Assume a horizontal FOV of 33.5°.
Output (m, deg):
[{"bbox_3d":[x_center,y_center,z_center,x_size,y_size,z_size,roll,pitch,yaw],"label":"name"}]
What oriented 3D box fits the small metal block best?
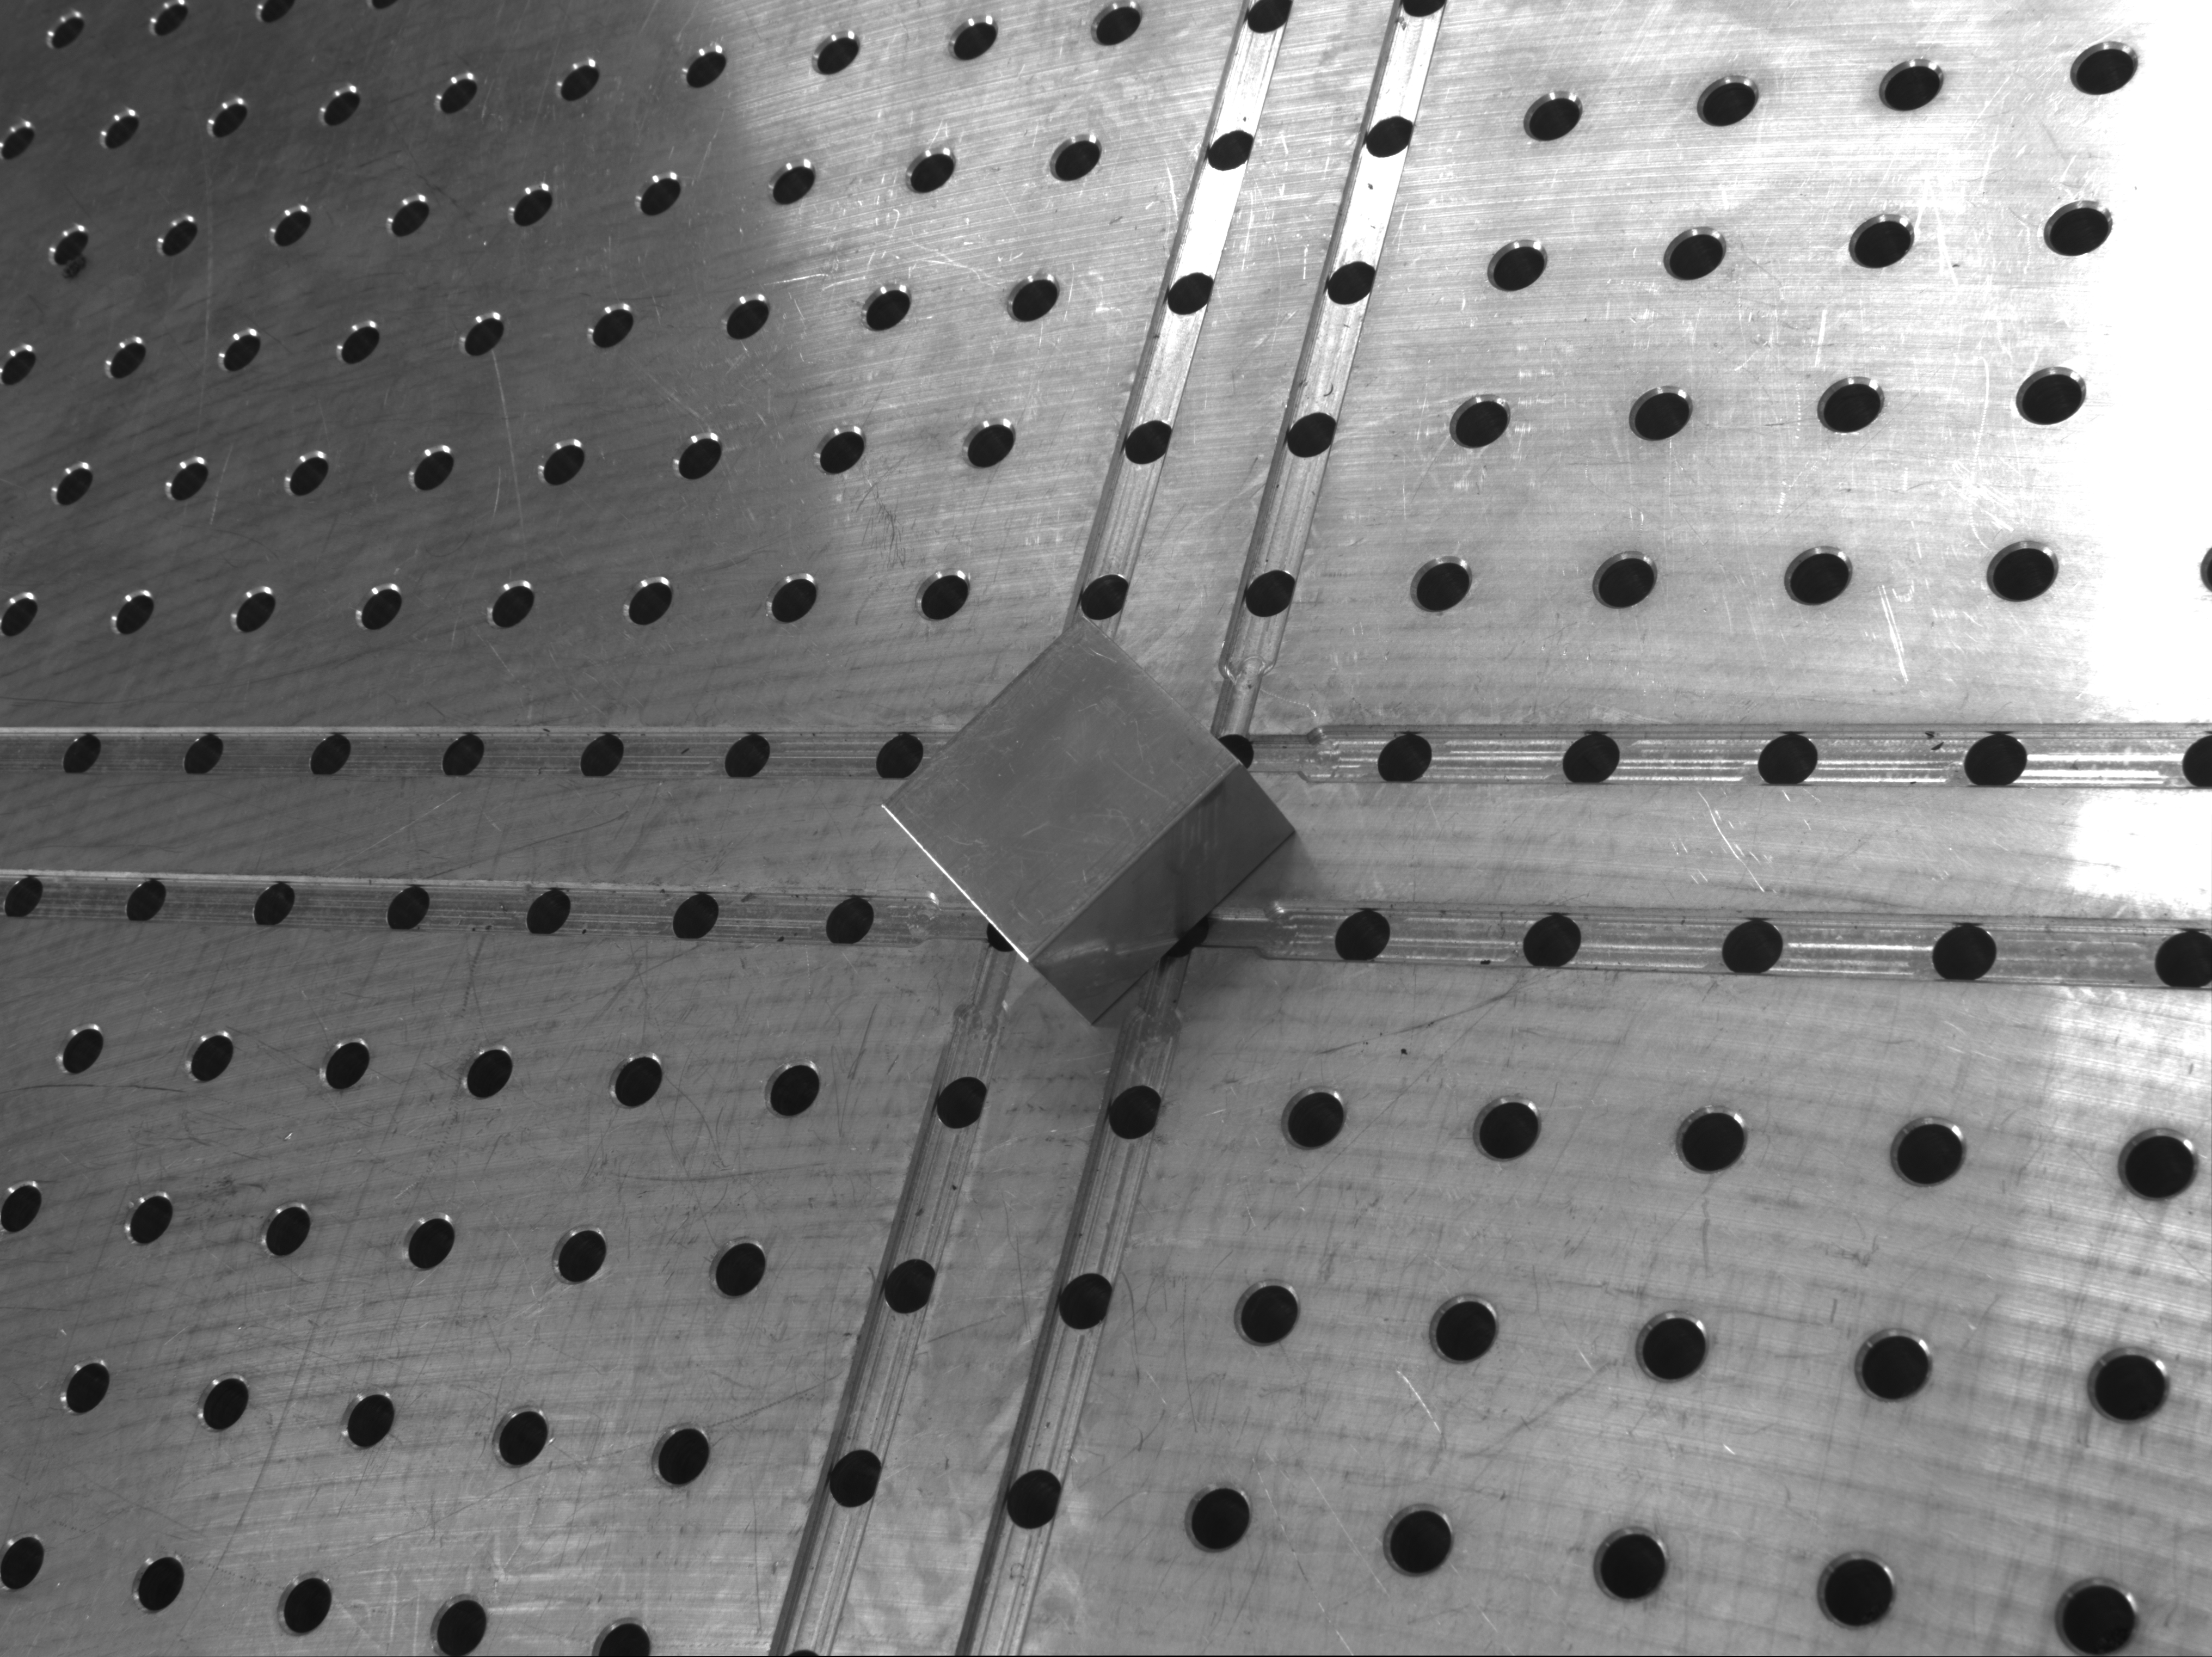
[{"bbox_3d":[-0.004,-0.002,0.652,0.050,0.025,0.050,-44,51,-2],"label":"small metal block"}]
